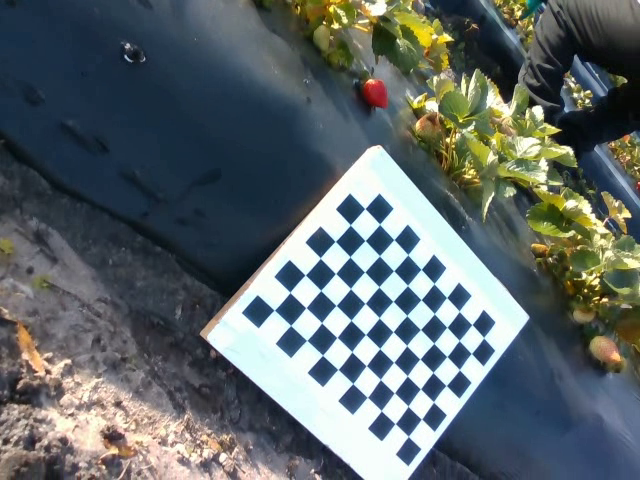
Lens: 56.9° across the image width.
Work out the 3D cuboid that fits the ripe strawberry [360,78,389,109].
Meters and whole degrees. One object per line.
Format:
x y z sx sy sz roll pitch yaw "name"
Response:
0.062 -0.161 0.651 0.030 0.044 0.033 -19 -23 -16 "ripe strawberry"
